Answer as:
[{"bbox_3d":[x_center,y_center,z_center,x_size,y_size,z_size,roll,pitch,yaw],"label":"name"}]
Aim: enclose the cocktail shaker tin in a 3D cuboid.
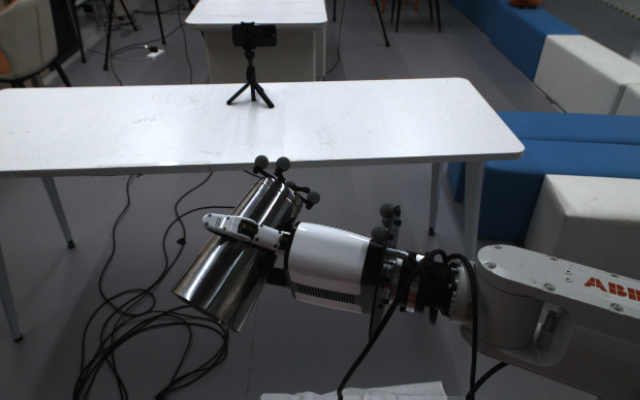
[{"bbox_3d":[-0.088,0.056,0.573,0.093,0.093,0.170,20,66,24],"label":"cocktail shaker tin"}]
